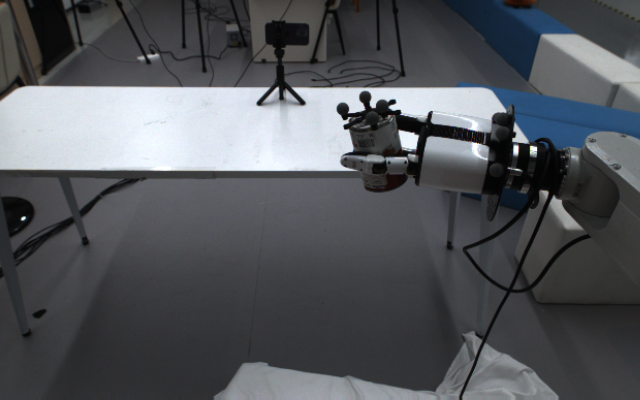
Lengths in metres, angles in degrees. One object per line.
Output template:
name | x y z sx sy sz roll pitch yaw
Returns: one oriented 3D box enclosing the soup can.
soup can | 0.084 -0.071 0.688 0.067 0.101 0.067 -13 31 8
